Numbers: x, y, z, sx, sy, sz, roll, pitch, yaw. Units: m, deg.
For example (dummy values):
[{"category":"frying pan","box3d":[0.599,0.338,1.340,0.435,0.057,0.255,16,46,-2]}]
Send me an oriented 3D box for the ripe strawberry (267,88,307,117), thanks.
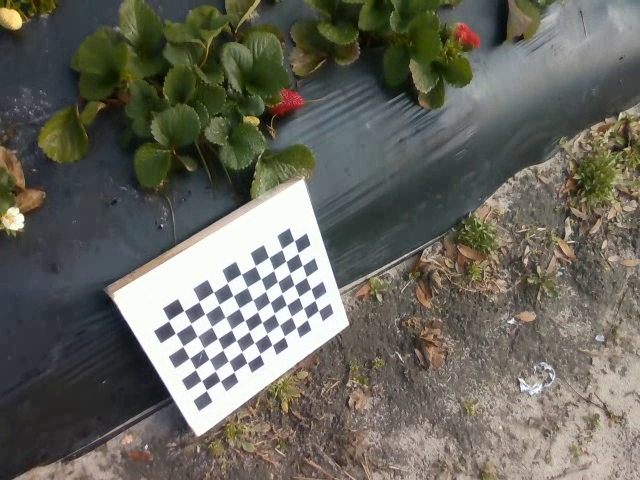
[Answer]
[{"category":"ripe strawberry","box3d":[-0.042,-0.182,0.814,0.064,0.051,0.043,1,17,-37]}]
